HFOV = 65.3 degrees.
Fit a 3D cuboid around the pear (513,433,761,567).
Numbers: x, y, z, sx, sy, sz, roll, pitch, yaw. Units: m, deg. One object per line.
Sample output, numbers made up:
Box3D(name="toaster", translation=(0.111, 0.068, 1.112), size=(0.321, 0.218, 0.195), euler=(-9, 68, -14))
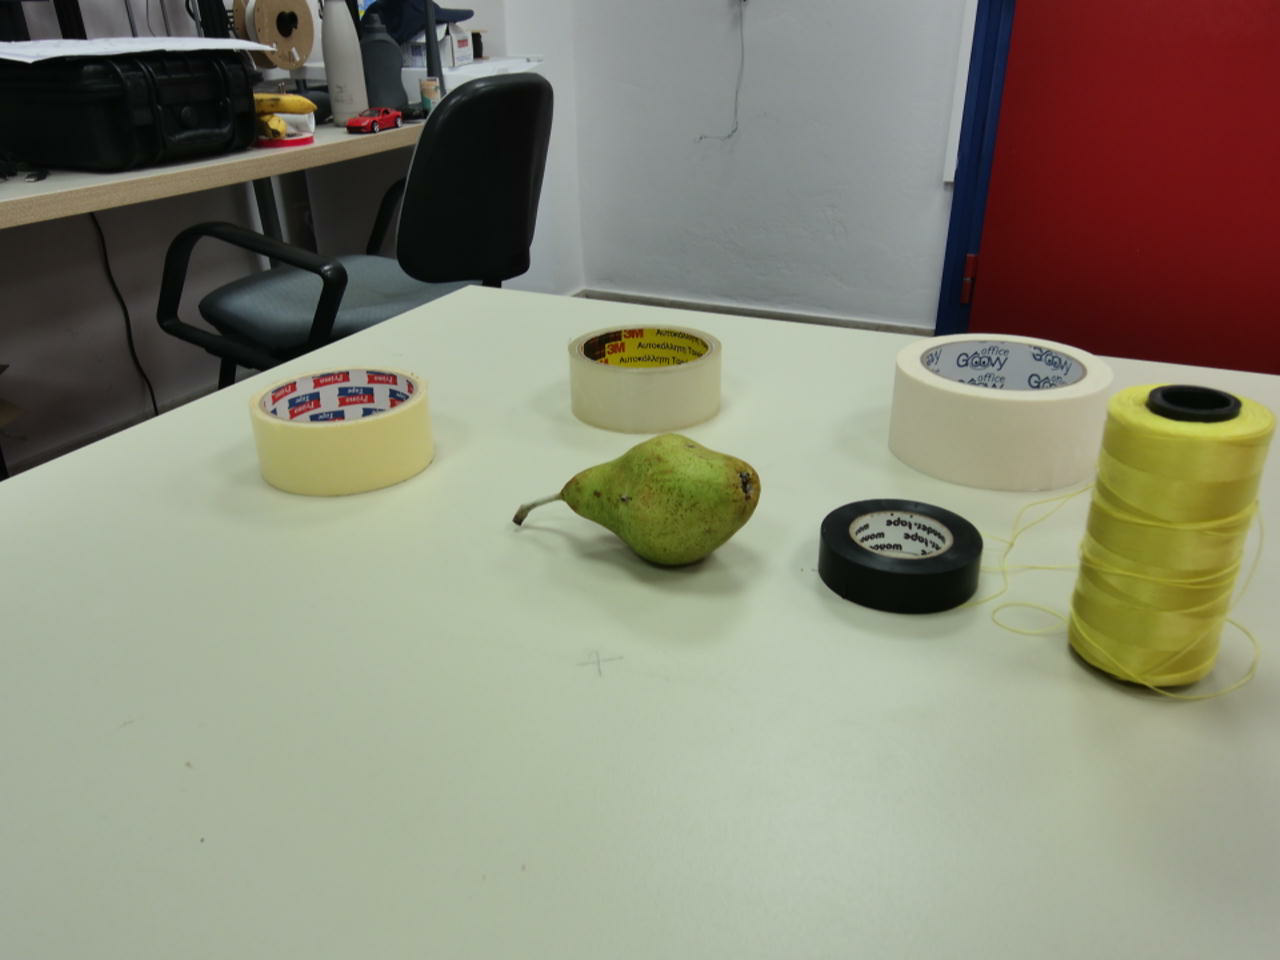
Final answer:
Box3D(name="pear", translation=(0.000, 0.004, 0.443), size=(0.111, 0.056, 0.056), euler=(19, 30, 37))
